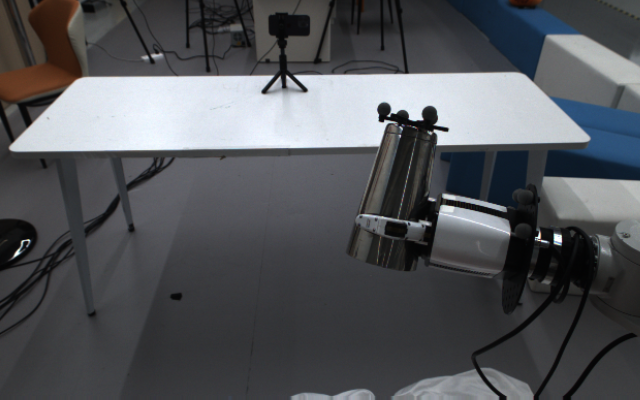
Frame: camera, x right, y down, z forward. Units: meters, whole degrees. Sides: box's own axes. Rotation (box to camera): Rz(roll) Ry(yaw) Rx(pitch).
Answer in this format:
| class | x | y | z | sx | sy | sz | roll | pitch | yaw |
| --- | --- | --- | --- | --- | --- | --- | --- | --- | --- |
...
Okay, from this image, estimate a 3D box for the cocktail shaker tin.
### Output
| class | x | y | z | sx | sy | sz | roll | pitch | yaw |
| --- | --- | --- | --- | --- | --- | --- | --- | --- | --- |
| cocktail shaker tin | 0.097 | -0.006 | 0.614 | 0.093 | 0.170 | 0.093 | 13 | 4 | -1 |
